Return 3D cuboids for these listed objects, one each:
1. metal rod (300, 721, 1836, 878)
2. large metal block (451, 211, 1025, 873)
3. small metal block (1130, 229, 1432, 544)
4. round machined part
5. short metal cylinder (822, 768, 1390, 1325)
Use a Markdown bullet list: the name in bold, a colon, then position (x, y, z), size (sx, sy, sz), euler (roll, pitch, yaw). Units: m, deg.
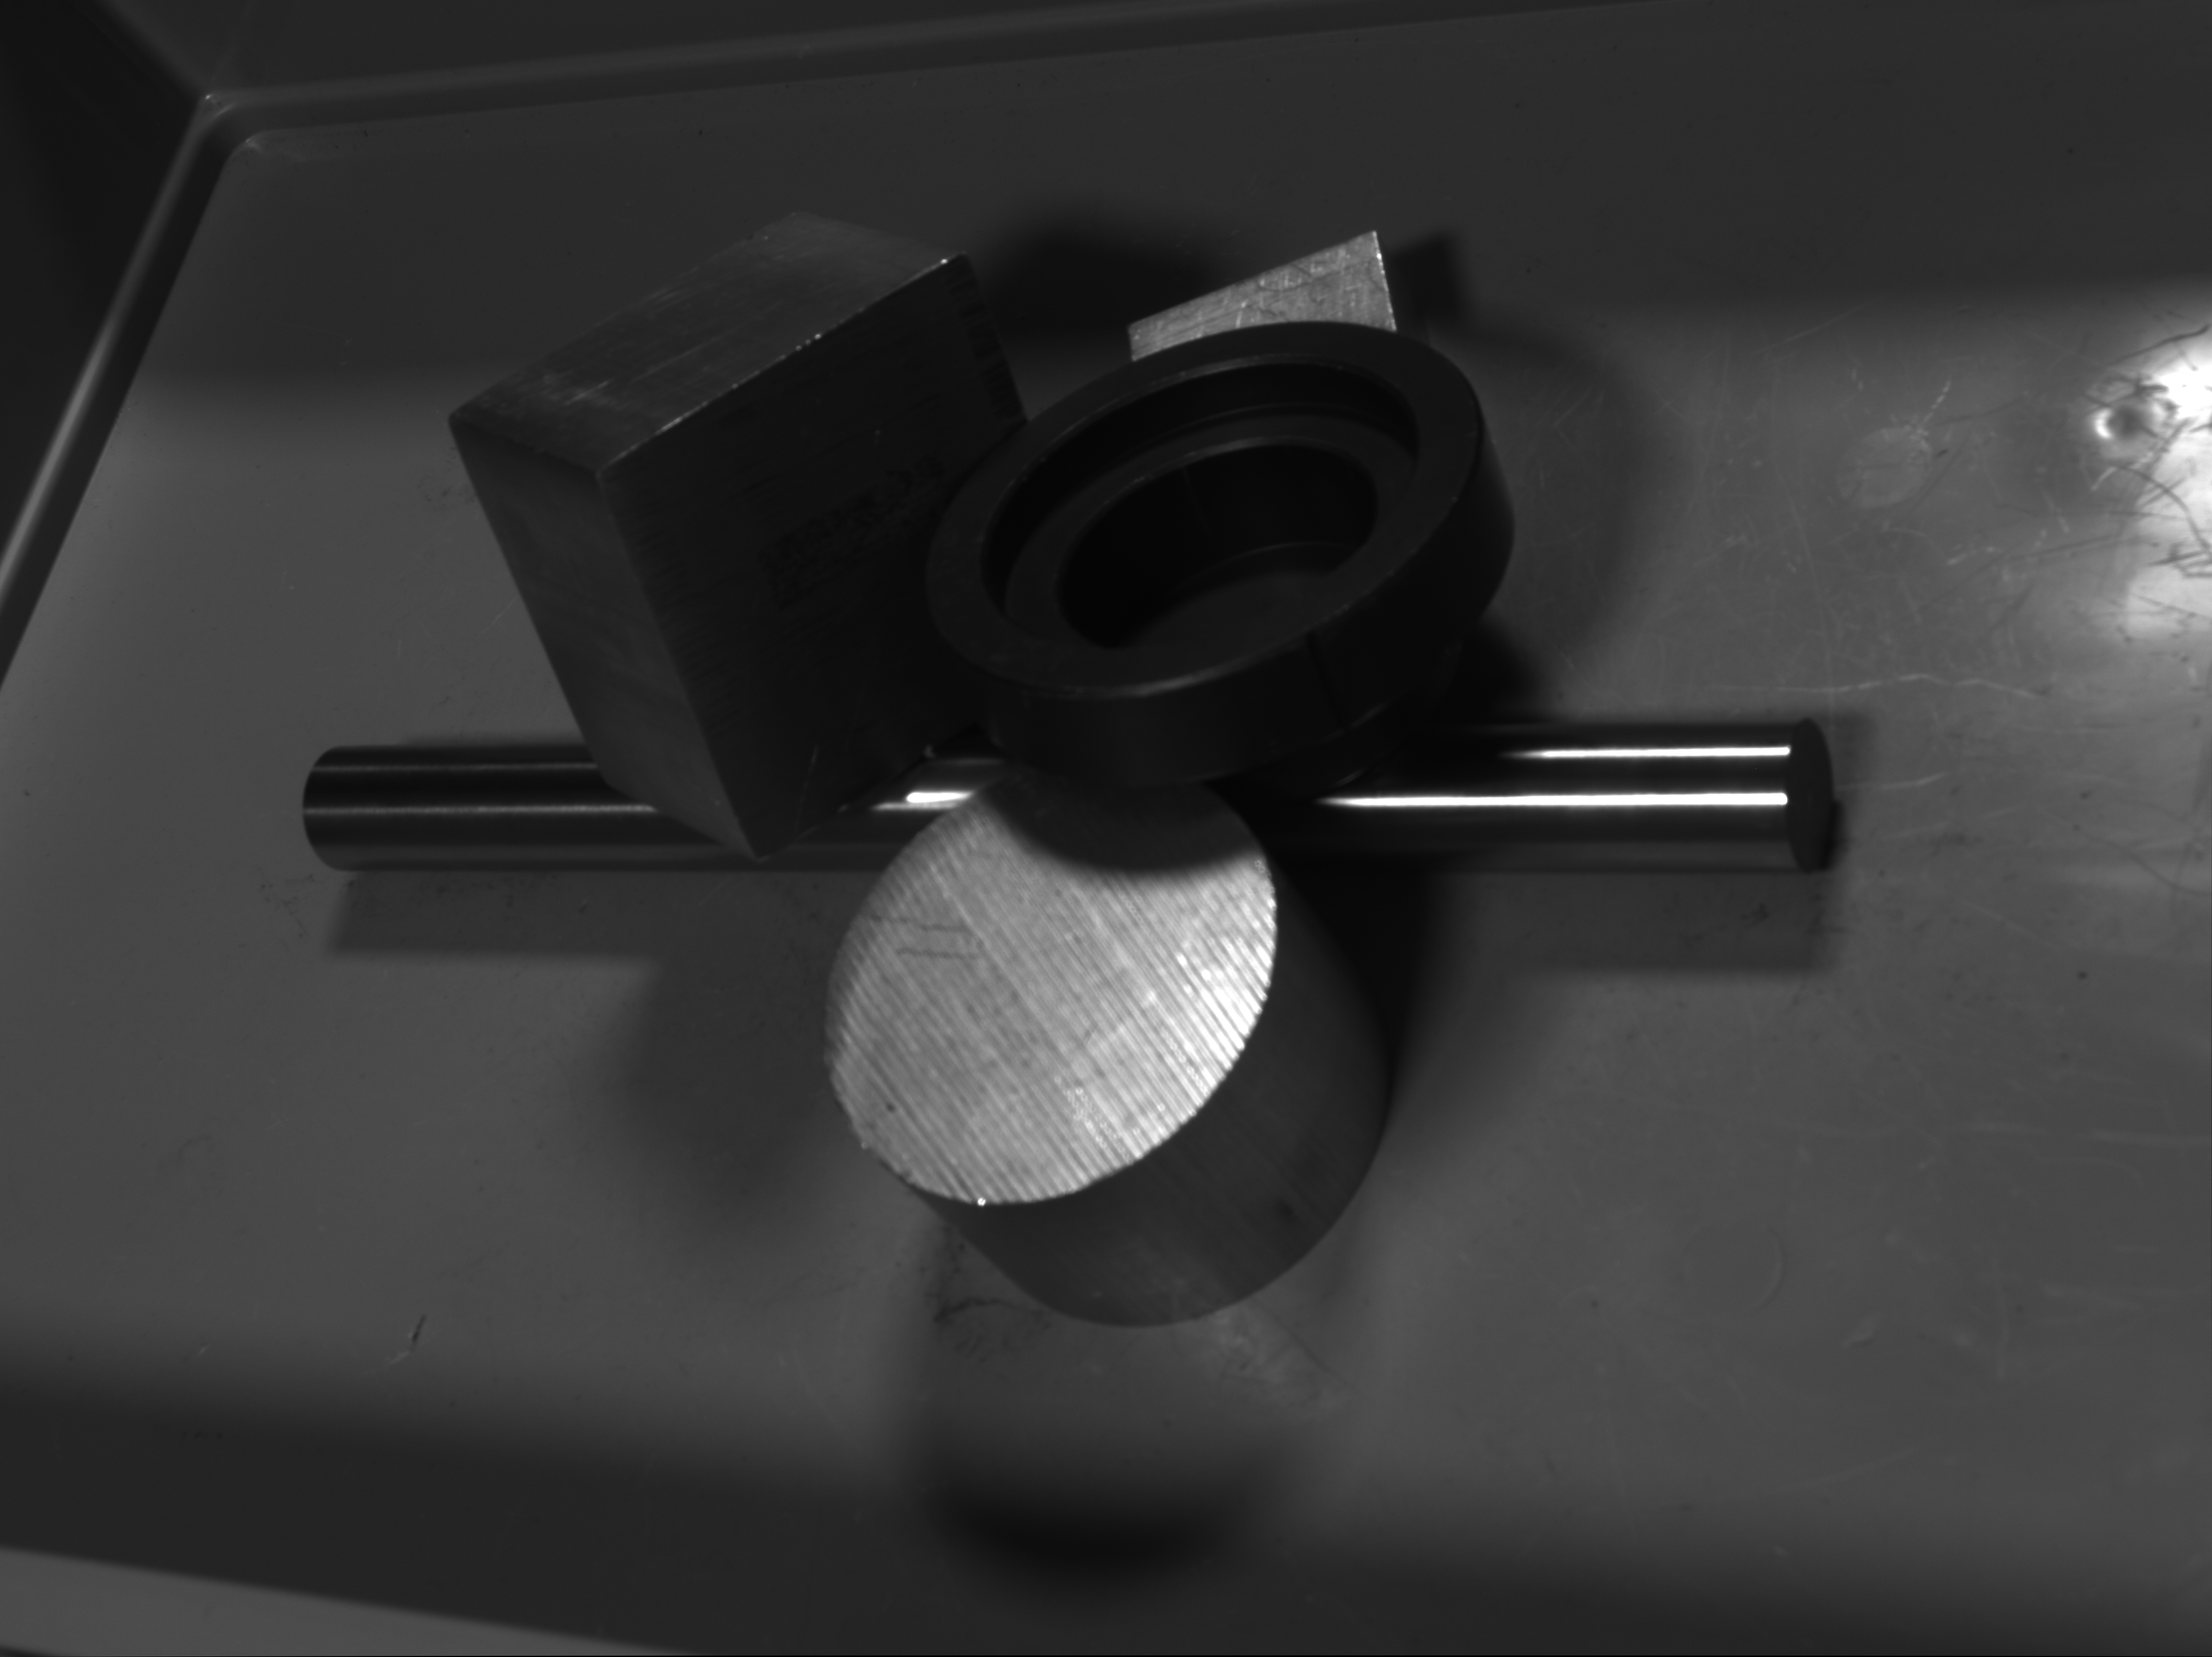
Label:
- **metal rod**: position (-0.019, -0.004, 0.654), size (0.299, 0.025, 0.025), euler (0, 61, 28)
- **large metal block**: position (-0.057, -0.052, 0.652), size (0.080, 0.080, 0.050), euler (-36, 35, -25)
- **small metal block**: position (0.035, -0.075, 0.671), size (0.050, 0.025, 0.050), euler (-19, 54, 17)
- **round machined part**: position (0.022, -0.040, 0.620), size (0.098, 0.042, 0.098), euler (-15, 38, 13)
- **short metal cylinder**: position (0.000, 0.035, 0.604), size (0.080, 0.050, 0.080), euler (-13, 56, 21)
